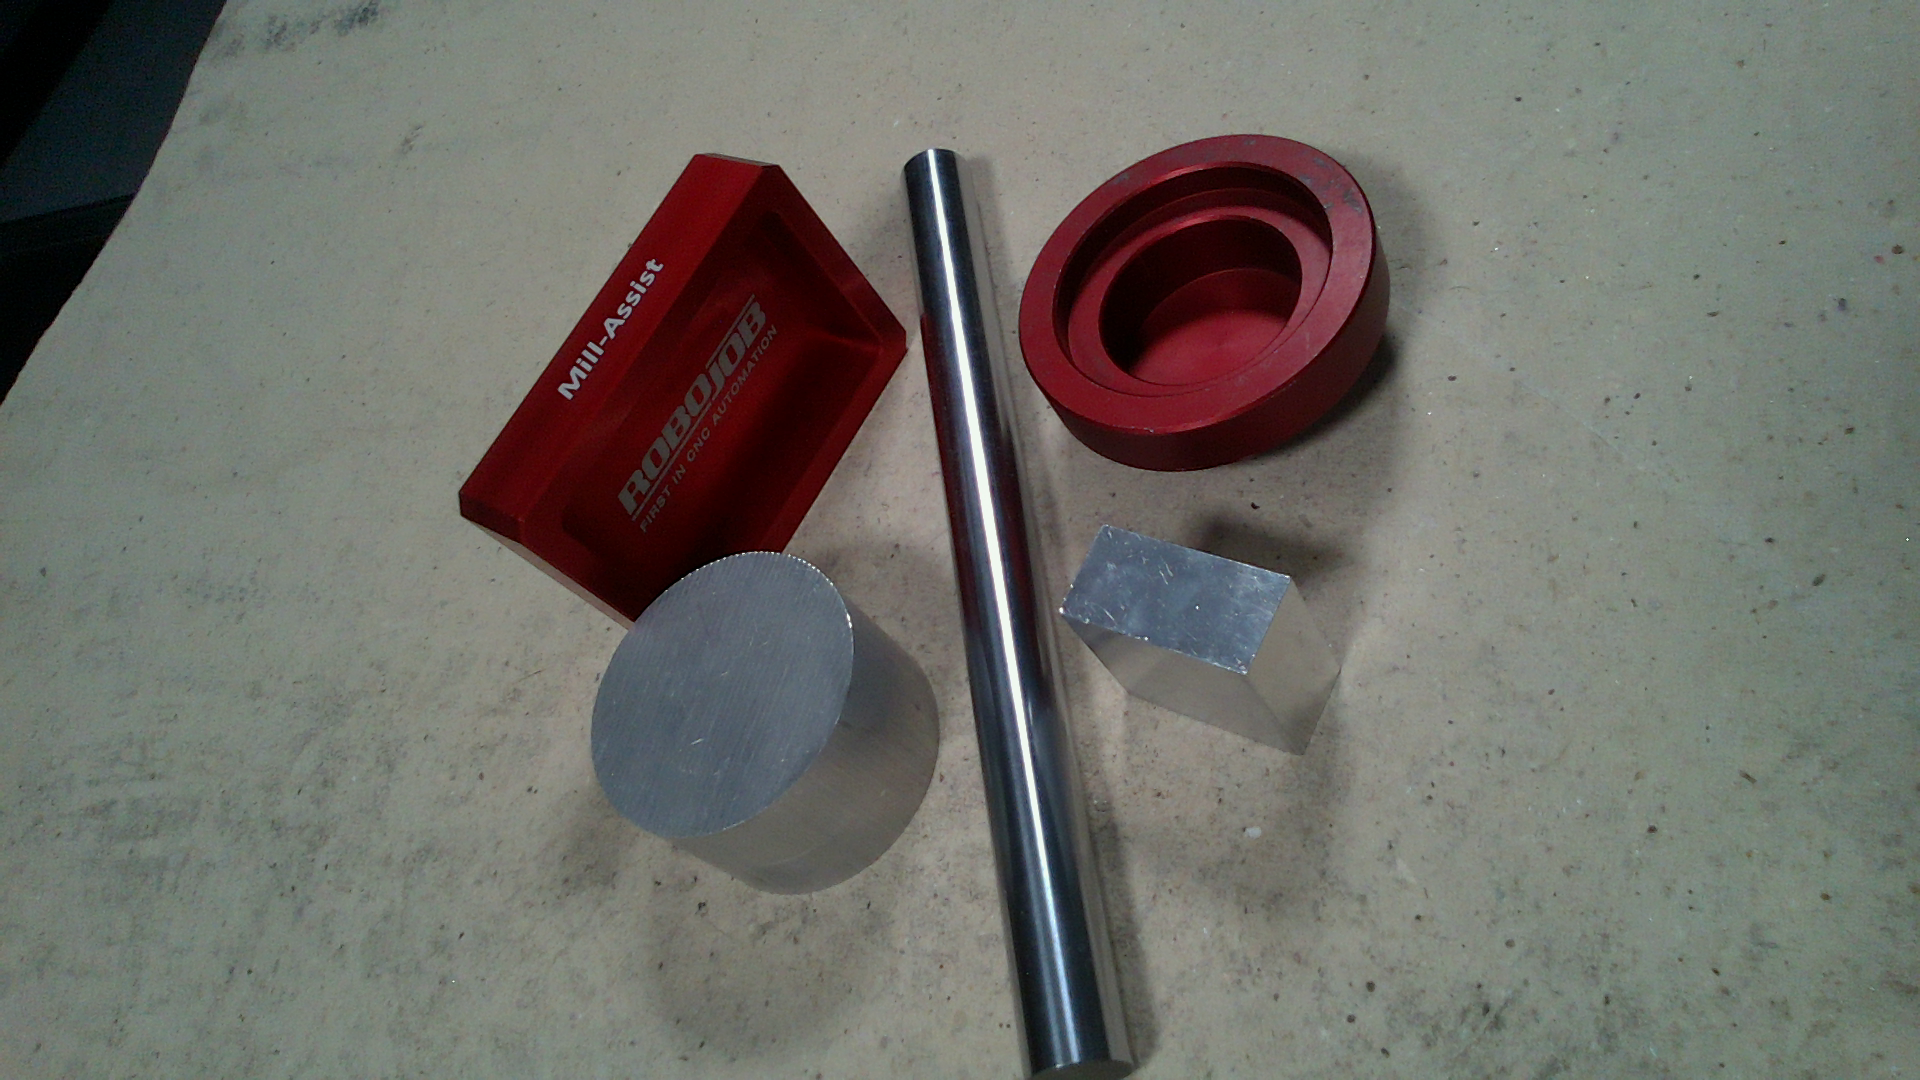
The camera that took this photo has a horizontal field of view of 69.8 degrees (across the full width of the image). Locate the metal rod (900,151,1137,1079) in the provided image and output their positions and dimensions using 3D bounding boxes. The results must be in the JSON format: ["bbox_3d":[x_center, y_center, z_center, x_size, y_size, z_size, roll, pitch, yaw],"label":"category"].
[{"bbox_3d":[0.009,-0.003,0.392,0.025,0.025,0.300,-20,54,17],"label":"metal rod"}]

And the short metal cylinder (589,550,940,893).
[{"bbox_3d":[-0.052,0.050,0.375,0.080,0.050,0.080,-14,56,21],"label":"short metal cylinder"}]

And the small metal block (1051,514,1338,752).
[{"bbox_3d":[0.057,0.022,0.330,0.050,0.050,0.025,18,71,35],"label":"small metal block"}]

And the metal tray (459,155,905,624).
[{"bbox_3d":[-0.078,-0.038,0.418,0.030,0.090,0.130,20,72,36],"label":"metal tray"}]

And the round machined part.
[{"bbox_3d":[0.069,-0.061,0.383,0.098,0.042,0.098,-13,56,21],"label":"round machined part"}]
